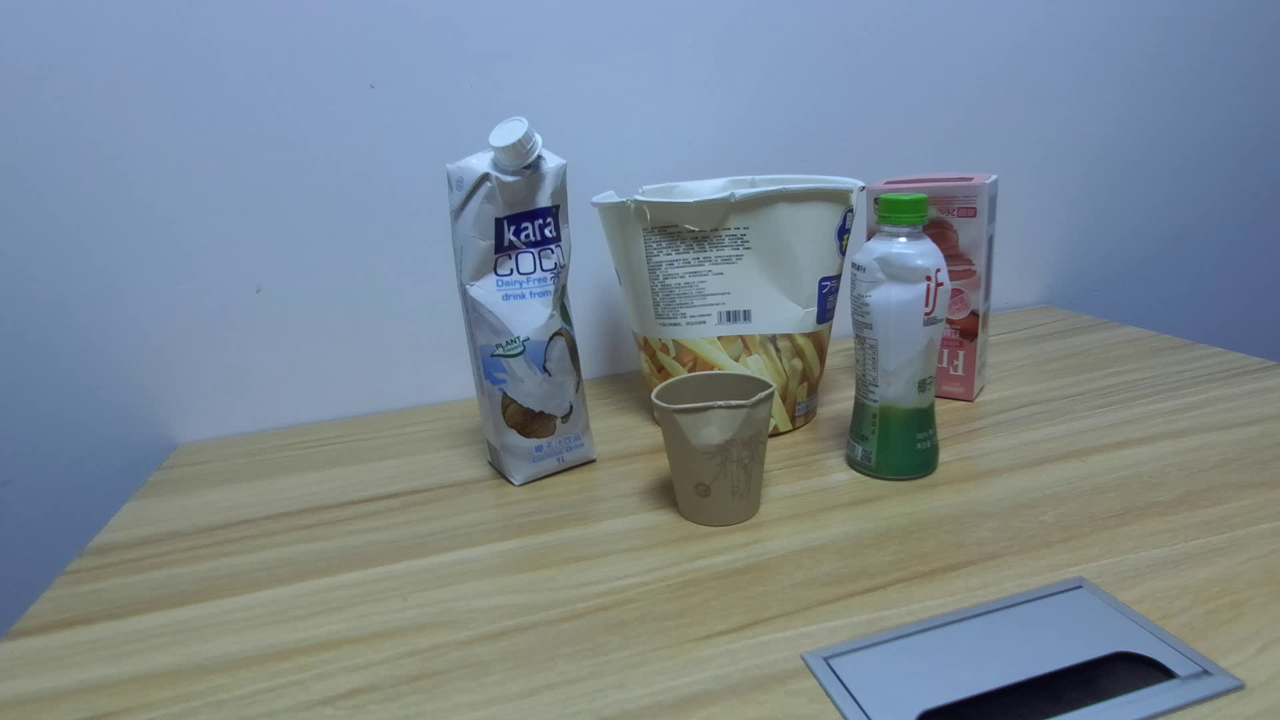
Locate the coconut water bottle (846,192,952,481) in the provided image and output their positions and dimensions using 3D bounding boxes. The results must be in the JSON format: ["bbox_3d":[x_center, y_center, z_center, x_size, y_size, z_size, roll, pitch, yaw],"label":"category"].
[{"bbox_3d":[0.175,-0.015,0.477,0.069,0.186,0.069,-3,17,1],"label":"coconut water bottle"}]

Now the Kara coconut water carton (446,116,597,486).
[{"bbox_3d":[-0.088,-0.040,0.516,0.083,0.255,0.078,-10,20,-17],"label":"Kara coconut water carton"}]

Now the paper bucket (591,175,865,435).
[{"bbox_3d":[0.072,-0.051,0.598,0.203,0.197,0.145,-6,17,-4],"label":"paper bucket"}]

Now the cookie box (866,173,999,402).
[{"bbox_3d":[0.246,-0.062,0.614,0.104,0.187,0.049,7,19,34],"label":"cookie box"}]

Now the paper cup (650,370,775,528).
[{"bbox_3d":[0.048,0.056,0.453,0.068,0.081,0.074,8,21,37],"label":"paper cup"}]
